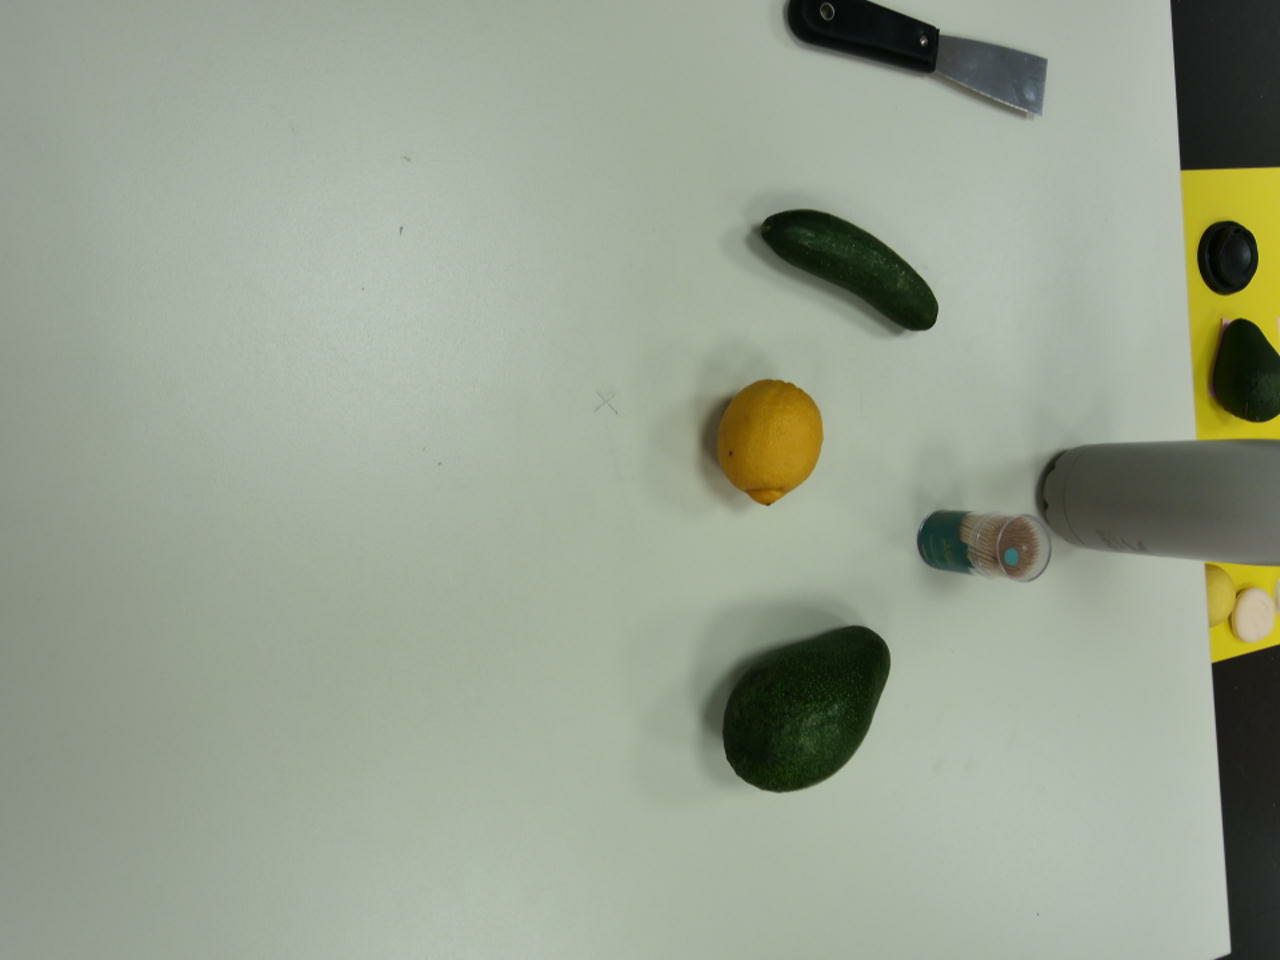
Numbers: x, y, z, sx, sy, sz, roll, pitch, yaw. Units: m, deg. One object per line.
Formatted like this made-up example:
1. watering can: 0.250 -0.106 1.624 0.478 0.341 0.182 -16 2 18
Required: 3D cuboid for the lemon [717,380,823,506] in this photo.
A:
1. lemon: 0.074 -0.023 0.572 0.061 0.059 0.067 38 77 -18
